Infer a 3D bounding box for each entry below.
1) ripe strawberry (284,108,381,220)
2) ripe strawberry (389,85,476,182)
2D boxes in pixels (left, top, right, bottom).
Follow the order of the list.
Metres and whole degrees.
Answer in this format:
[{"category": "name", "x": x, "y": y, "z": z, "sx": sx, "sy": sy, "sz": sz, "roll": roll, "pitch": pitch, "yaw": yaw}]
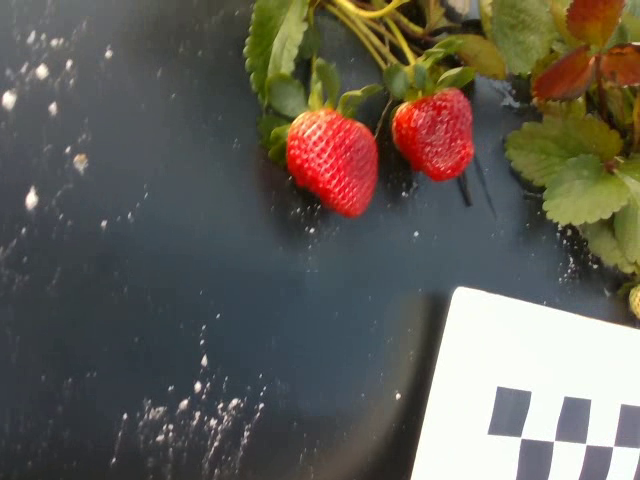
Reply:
[{"category": "ripe strawberry", "x": 0.010, "y": -0.032, "z": 0.276, "sx": 0.050, "sy": 0.061, "sz": 0.045, "roll": 2, "pitch": -34, "yaw": -25}, {"category": "ripe strawberry", "x": 0.063, "y": -0.054, "z": 0.311, "sx": 0.042, "sy": 0.053, "sz": 0.034, "roll": -4, "pitch": -28, "yaw": -24}]
